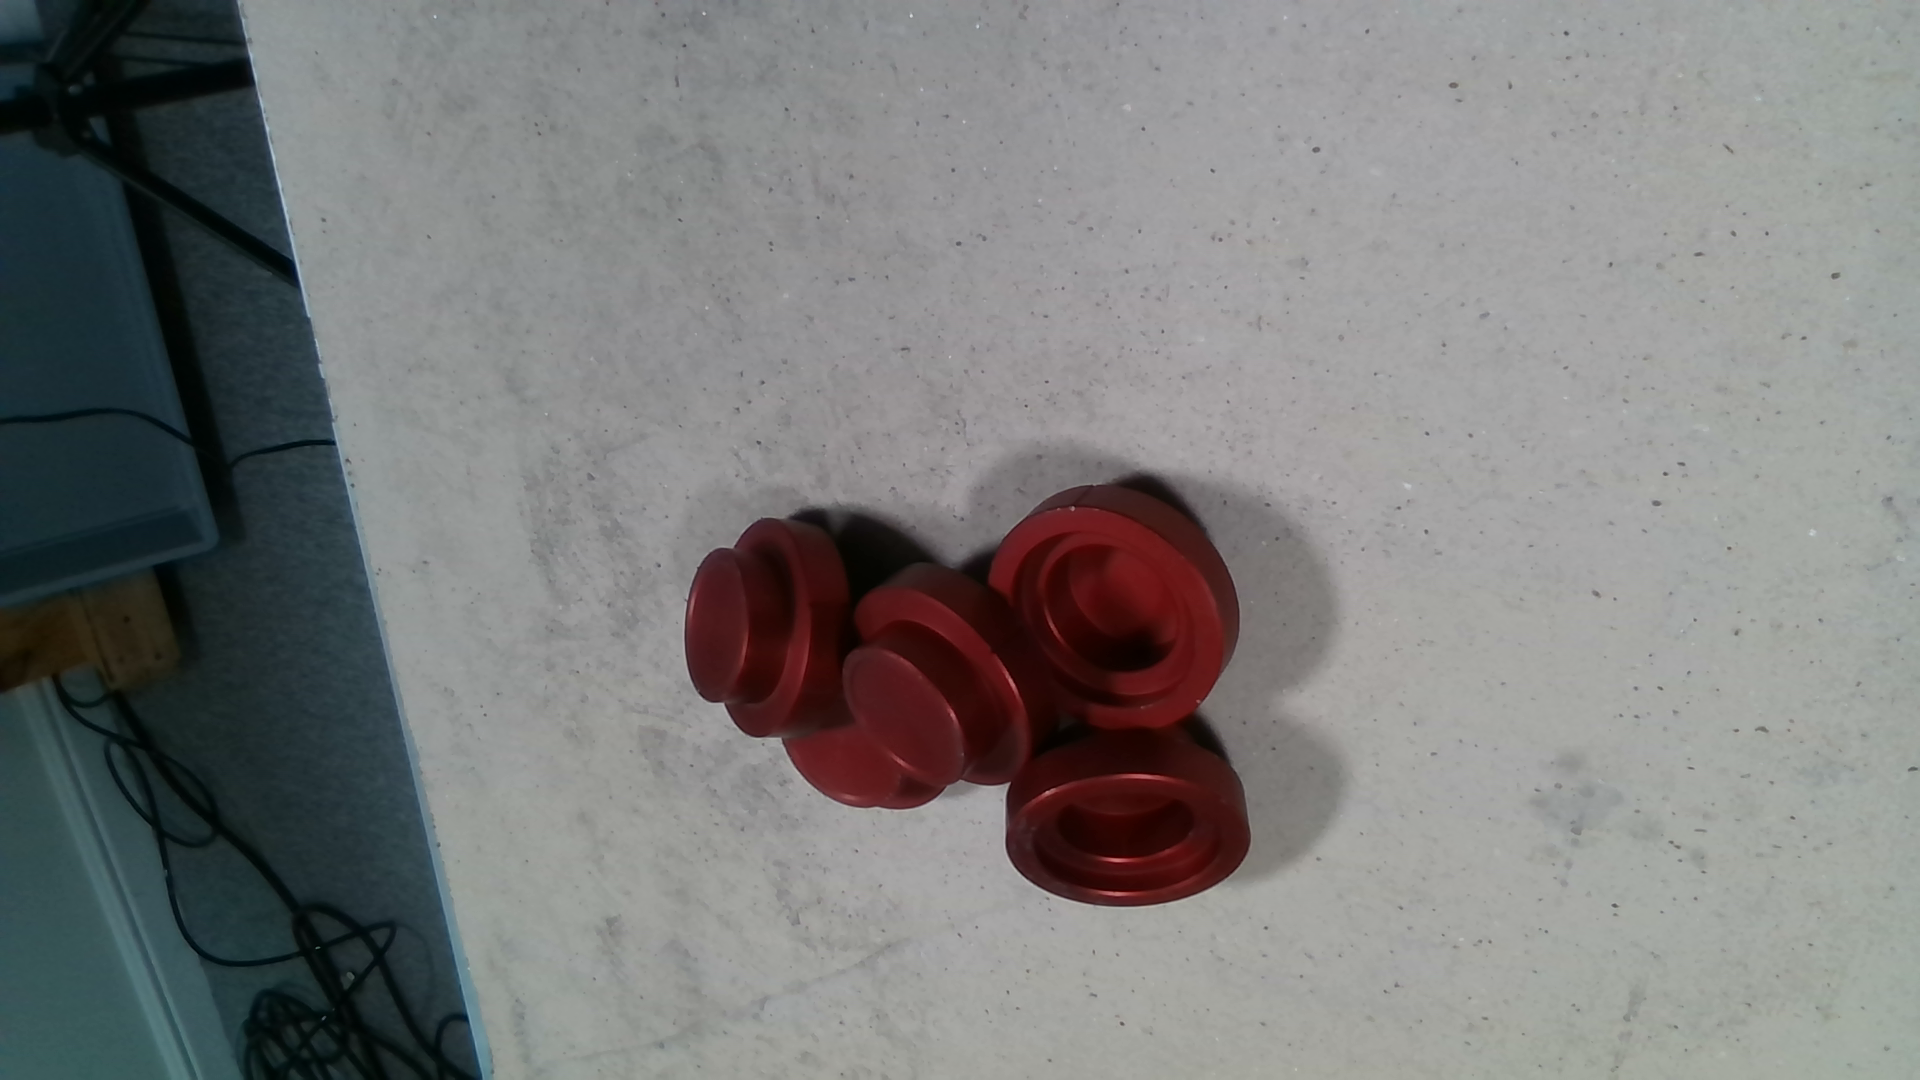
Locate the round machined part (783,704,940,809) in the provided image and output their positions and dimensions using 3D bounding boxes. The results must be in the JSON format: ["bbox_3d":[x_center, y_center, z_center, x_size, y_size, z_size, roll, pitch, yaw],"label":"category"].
[{"bbox_3d":[-0.046,0.085,0.644,0.098,0.042,0.098,14,122,25],"label":"round machined part"}]

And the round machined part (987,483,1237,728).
[{"bbox_3d":[0.063,0.022,0.542,0.098,0.042,0.098,14,122,25],"label":"round machined part"}]

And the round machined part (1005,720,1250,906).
[{"bbox_3d":[0.068,0.108,0.569,0.098,0.042,0.098,1,136,1],"label":"round machined part"}]

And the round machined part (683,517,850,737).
[{"bbox_3d":[-0.091,0.038,0.613,0.098,0.042,0.098,-12,75,56],"label":"round machined part"}]

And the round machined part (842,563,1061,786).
[{"bbox_3d":[-0.010,0.062,0.566,0.098,0.042,0.098,26,136,29],"label":"round machined part"}]
